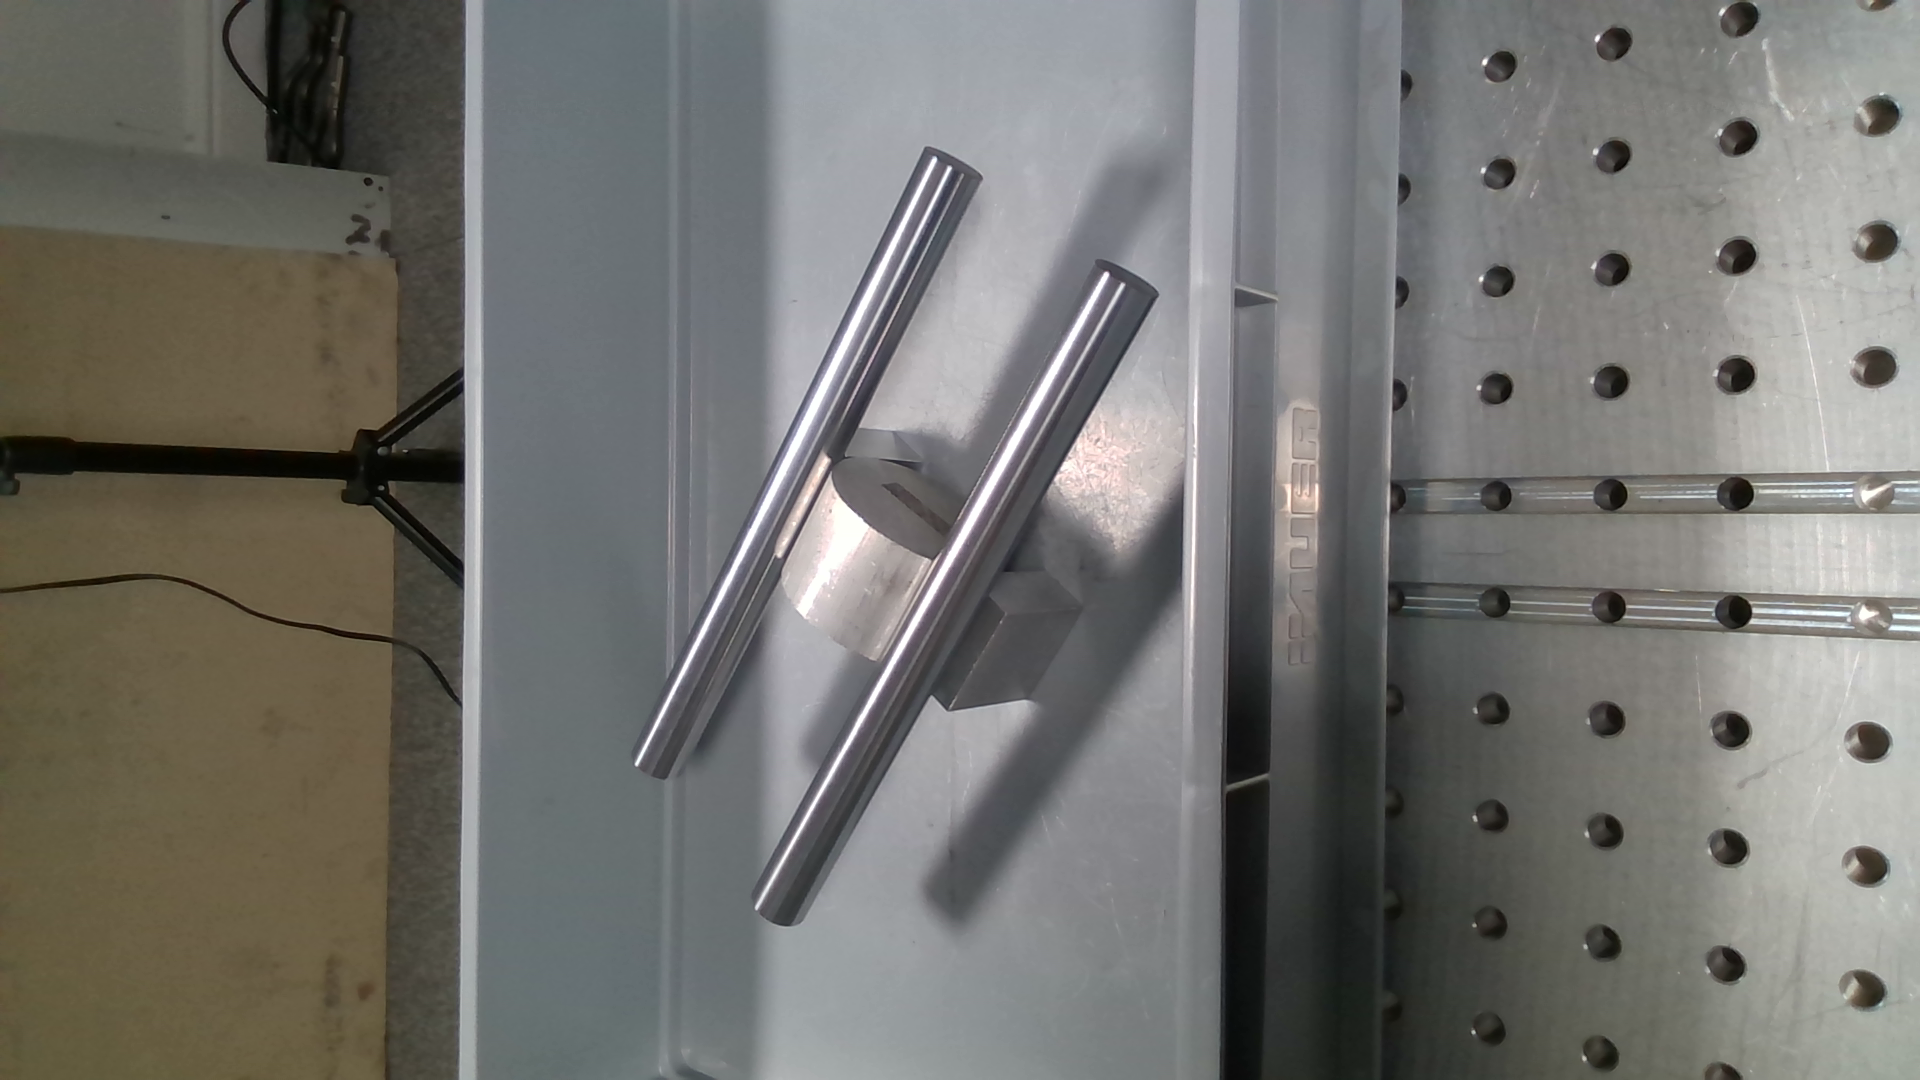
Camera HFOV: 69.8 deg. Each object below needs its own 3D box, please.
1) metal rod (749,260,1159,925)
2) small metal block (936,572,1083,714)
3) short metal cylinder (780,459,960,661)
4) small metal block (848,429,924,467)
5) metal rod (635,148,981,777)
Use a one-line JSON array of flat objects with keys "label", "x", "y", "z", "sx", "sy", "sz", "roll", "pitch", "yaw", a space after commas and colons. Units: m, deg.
[{"label": "metal rod", "x": -0.010, "y": 0.032, "z": 0.525, "sx": 0.025, "sy": 0.025, "sz": 0.301, "roll": 44, "pitch": 117, "yaw": 31}, {"label": "small metal block", "x": 0.014, "y": 0.040, "z": 0.552, "sx": 0.025, "sy": 0.050, "sz": 0.050, "roll": 44, "pitch": 117, "yaw": 31}, {"label": "short metal cylinder", "x": -0.027, "y": 0.009, "z": 0.568, "sx": 0.080, "sy": 0.080, "sz": 0.050, "roll": 44, "pitch": 117, "yaw": 31}, {"label": "small metal block", "x": -0.051, "y": -0.022, "z": 0.607, "sx": 0.025, "sy": 0.050, "sz": 0.050, "roll": 44, "pitch": 117, "yaw": 31}, {"label": "metal rod", "x": -0.070, "y": -0.021, "z": 0.576, "sx": 0.025, "sy": 0.025, "sz": 0.301, "roll": 44, "pitch": 117, "yaw": 31}]
